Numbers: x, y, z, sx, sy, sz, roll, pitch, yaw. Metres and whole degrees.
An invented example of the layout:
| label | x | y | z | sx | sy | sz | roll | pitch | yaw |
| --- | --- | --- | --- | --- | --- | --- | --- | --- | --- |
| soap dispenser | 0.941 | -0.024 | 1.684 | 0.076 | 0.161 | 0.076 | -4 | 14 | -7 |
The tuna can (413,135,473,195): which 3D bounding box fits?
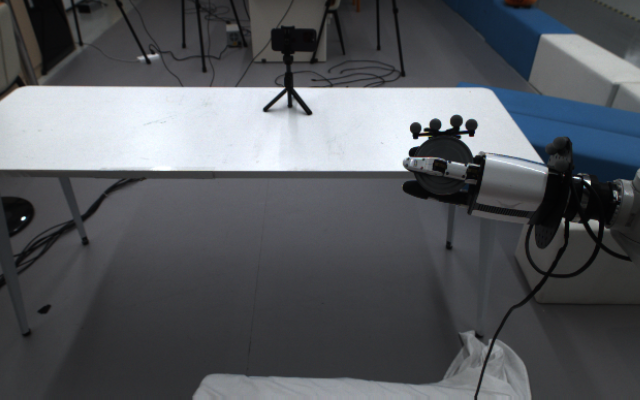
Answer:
| label | x | y | z | sx | sy | sz | roll | pitch | yaw |
| --- | --- | --- | --- | --- | --- | --- | --- | --- | --- |
| tuna can | 0.181 | -0.051 | 0.713 | 0.085 | 0.085 | 0.034 | 15 | 2 | 18 |
